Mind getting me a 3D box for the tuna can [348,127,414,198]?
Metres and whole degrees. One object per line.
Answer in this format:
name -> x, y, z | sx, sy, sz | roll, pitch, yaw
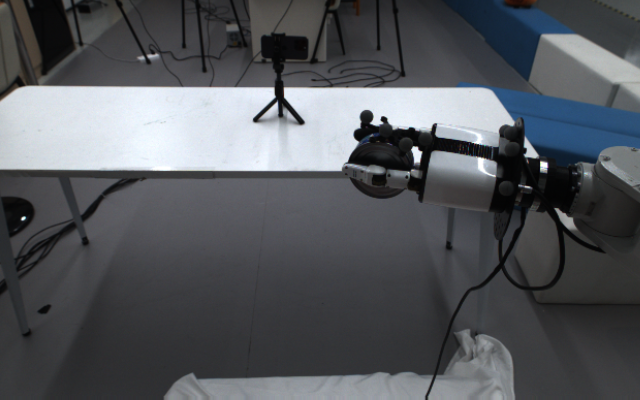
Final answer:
tuna can -> 0.084, -0.049, 0.652 | 0.085, 0.085, 0.034 | 12, 33, 14
